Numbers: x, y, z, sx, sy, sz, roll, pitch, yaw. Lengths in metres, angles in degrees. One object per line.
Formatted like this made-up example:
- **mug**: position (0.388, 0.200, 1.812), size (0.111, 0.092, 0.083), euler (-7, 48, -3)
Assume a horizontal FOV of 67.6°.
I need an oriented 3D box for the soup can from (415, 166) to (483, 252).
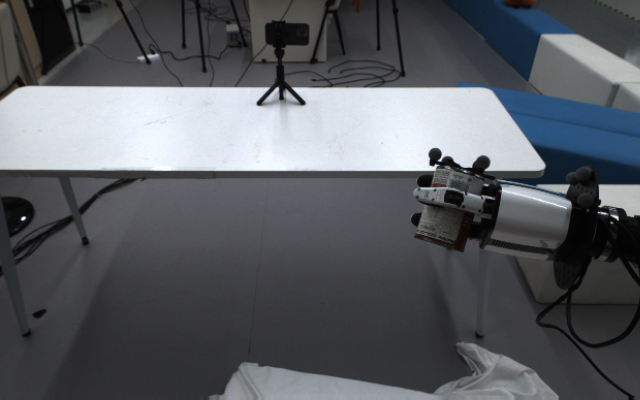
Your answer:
- **soup can**: position (0.175, 0.011, 0.649), size (0.067, 0.101, 0.067), euler (17, -1, 0)
